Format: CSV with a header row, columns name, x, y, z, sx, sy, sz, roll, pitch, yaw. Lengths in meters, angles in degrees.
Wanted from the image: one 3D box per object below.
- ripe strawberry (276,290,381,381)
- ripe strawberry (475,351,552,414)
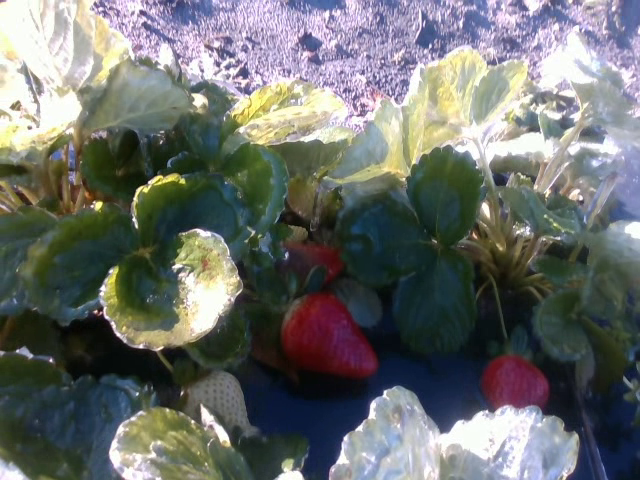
name,x,y,z,sx,sy,sz,roll,pitch,yaw
ripe strawberry,0.009,0.049,0.307,0.044,0.056,0.040,-45,-7,-32
ripe strawberry,0.099,0.077,0.305,0.039,0.047,0.040,32,-43,0
